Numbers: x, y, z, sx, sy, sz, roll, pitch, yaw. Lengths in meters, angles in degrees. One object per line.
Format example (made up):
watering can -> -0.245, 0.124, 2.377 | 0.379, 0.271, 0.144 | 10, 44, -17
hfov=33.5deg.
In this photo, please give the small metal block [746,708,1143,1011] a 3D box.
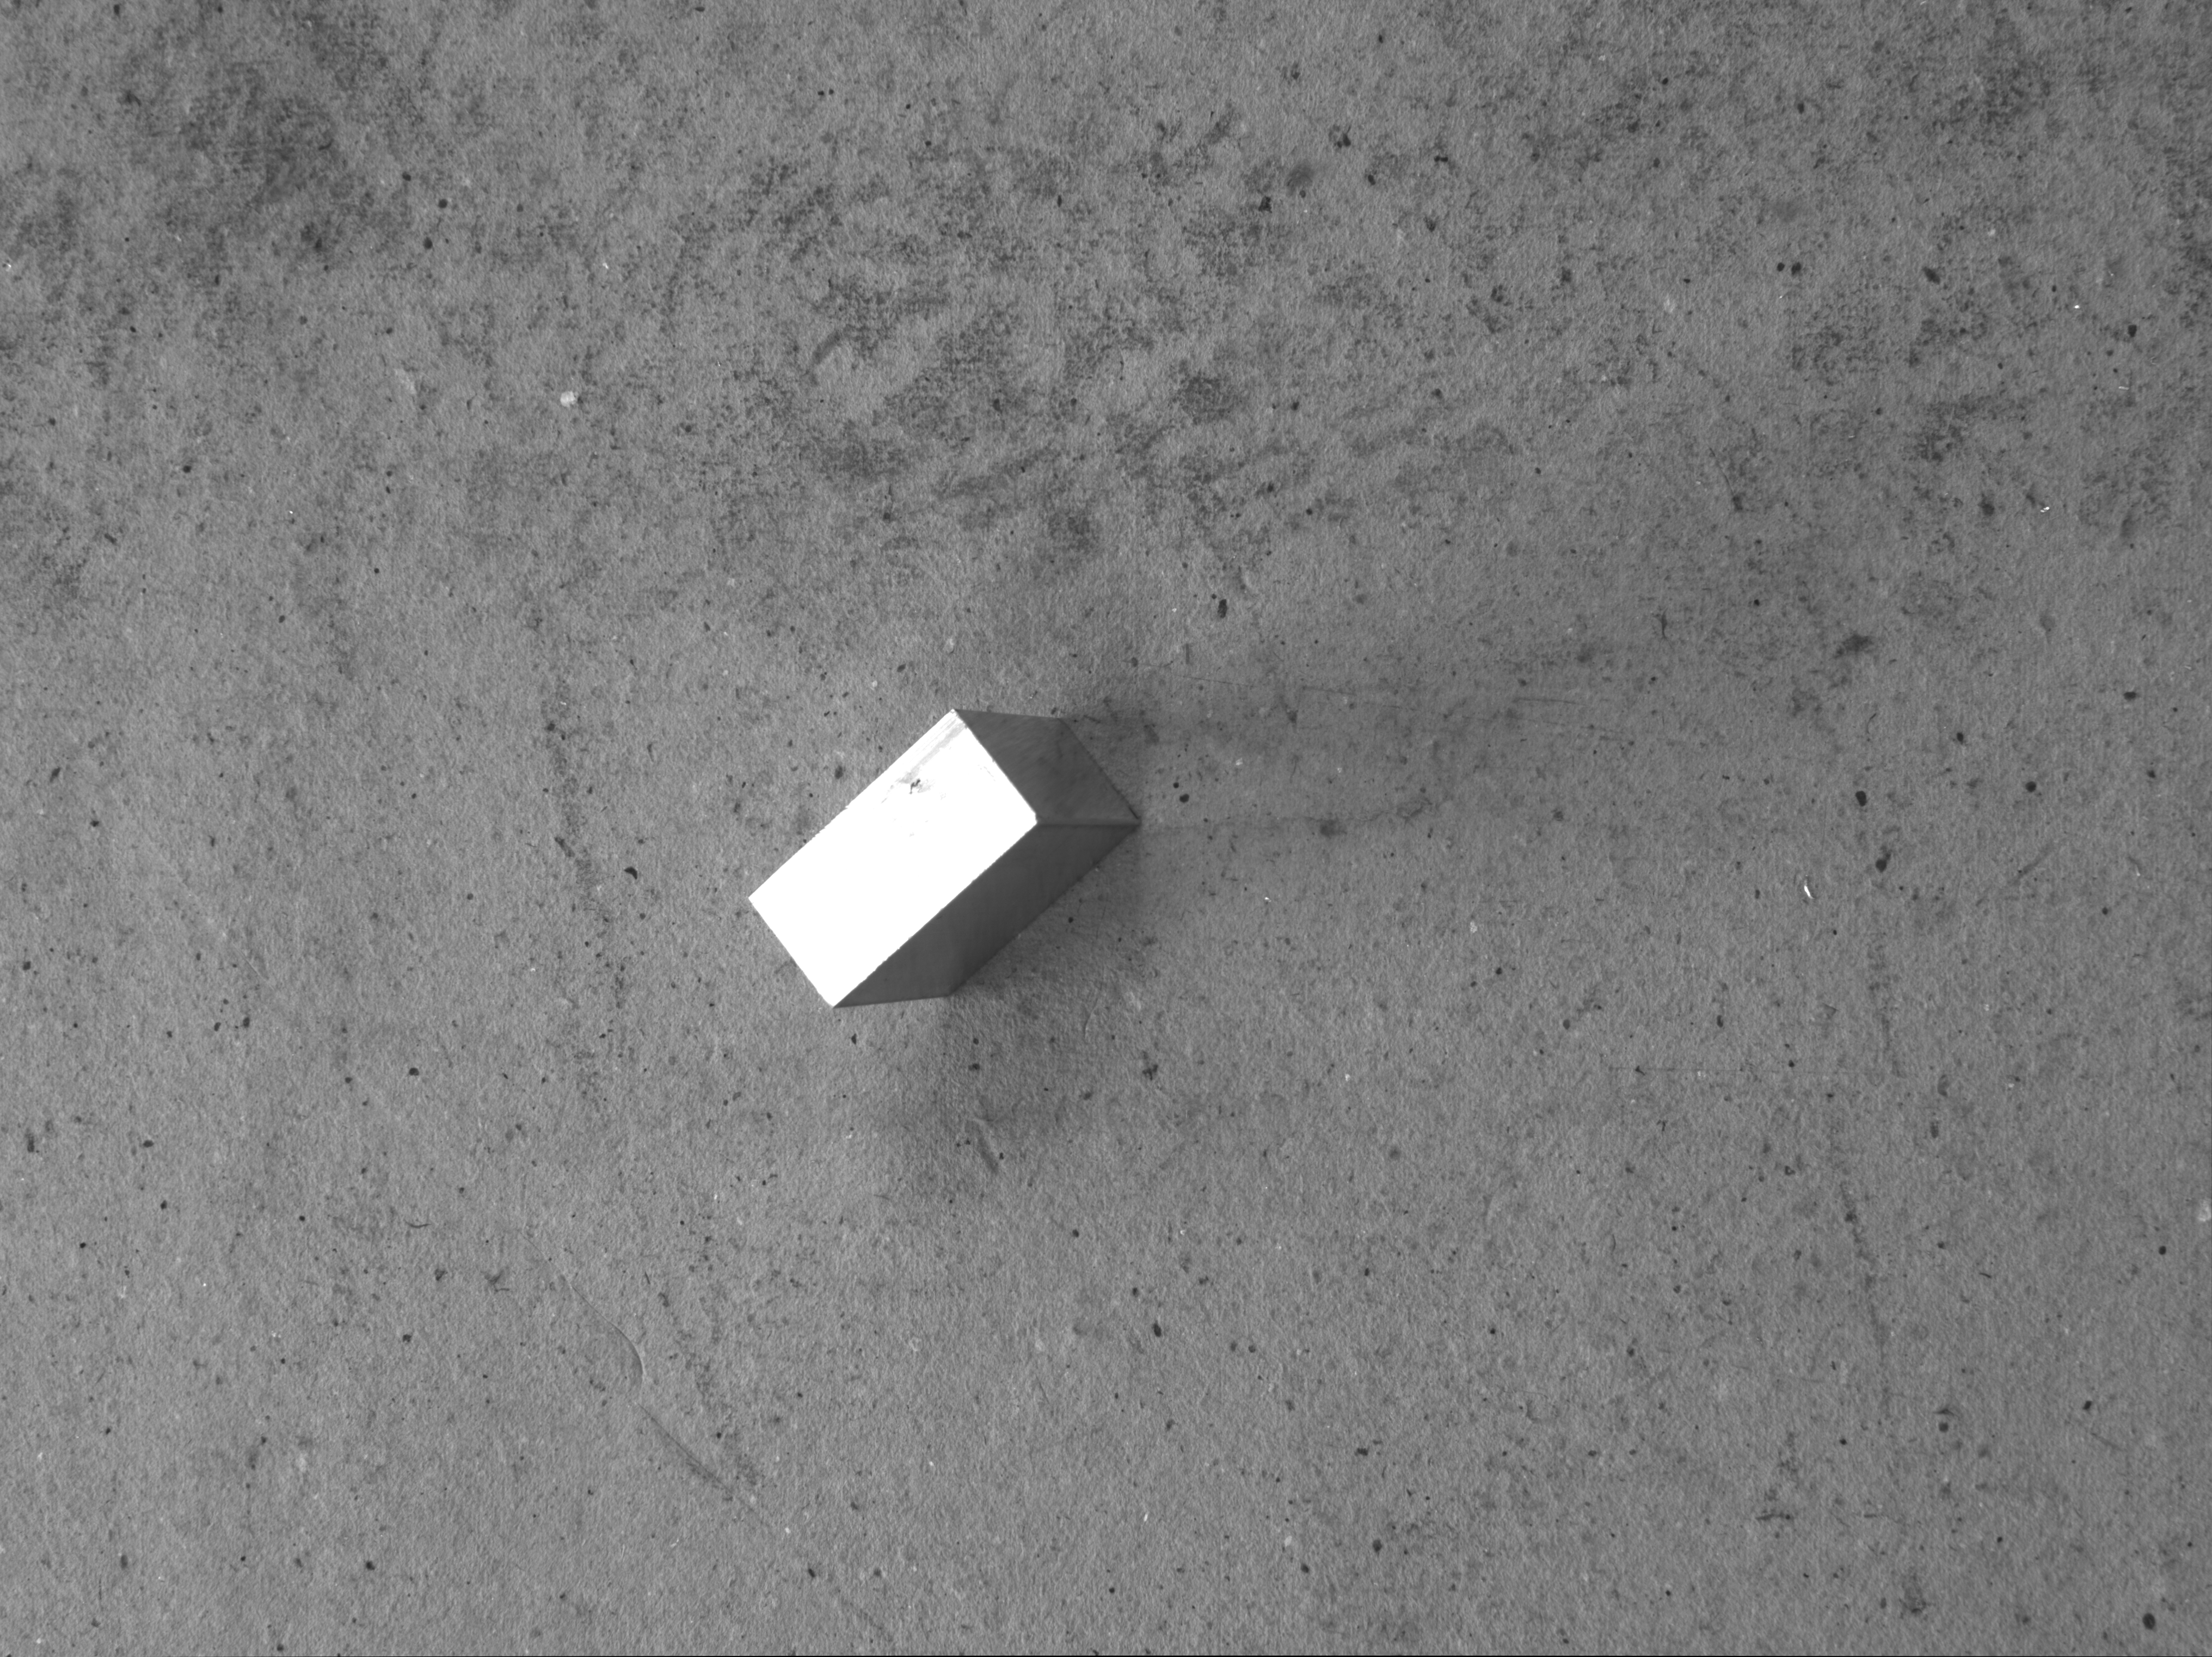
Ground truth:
small metal block -> -0.028, 0.006, 0.644 | 0.050, 0.050, 0.025 | -42, 77, 15
